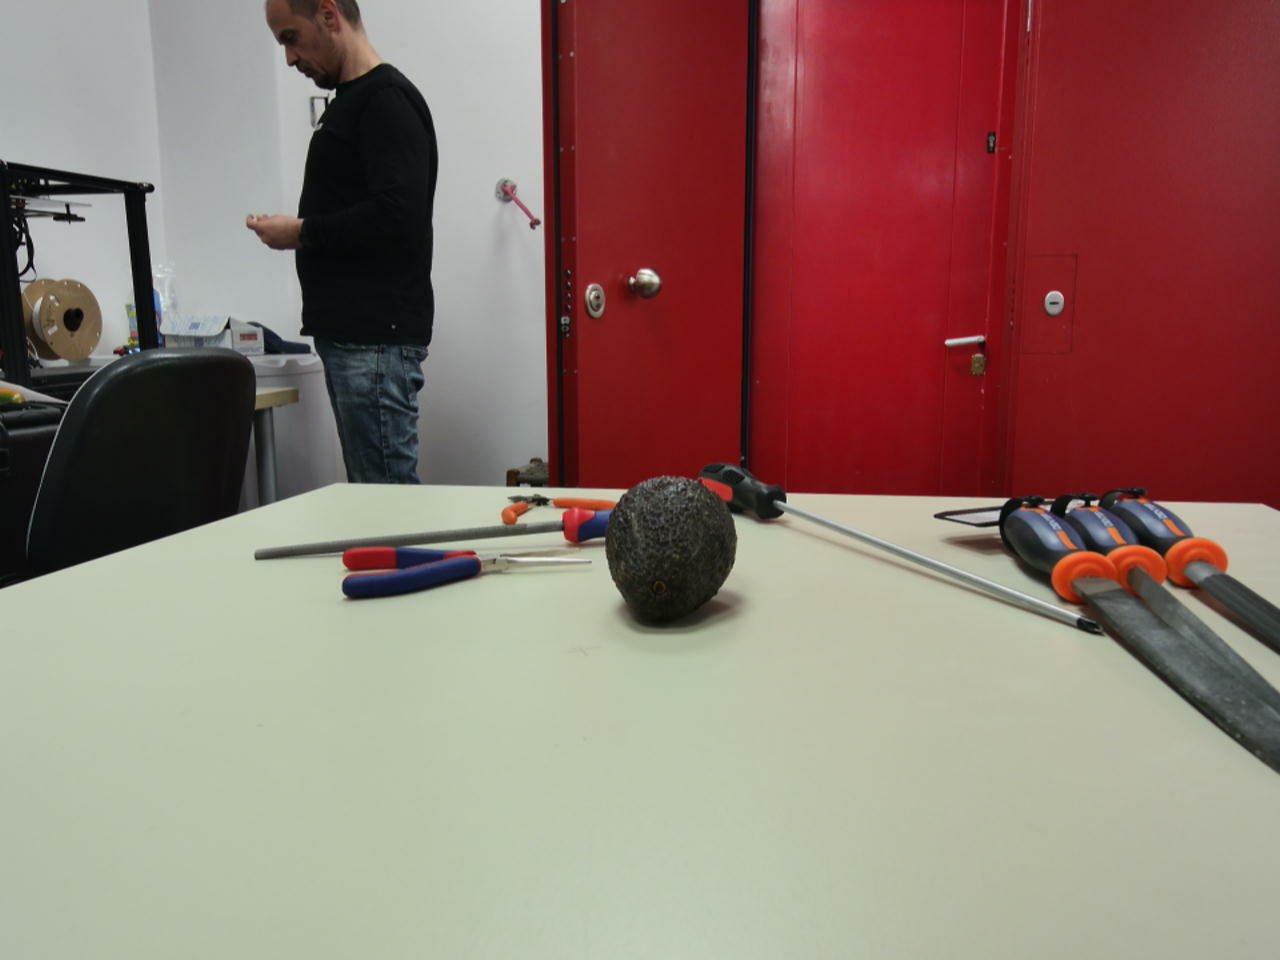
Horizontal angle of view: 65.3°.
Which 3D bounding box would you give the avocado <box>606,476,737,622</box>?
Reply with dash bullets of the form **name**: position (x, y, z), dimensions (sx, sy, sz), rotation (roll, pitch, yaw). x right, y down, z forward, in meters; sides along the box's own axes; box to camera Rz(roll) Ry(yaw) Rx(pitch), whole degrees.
- **avocado**: position (0.013, 0.033, 0.523), dimensions (0.070, 0.069, 0.090), rotation (6, 8, 37)
